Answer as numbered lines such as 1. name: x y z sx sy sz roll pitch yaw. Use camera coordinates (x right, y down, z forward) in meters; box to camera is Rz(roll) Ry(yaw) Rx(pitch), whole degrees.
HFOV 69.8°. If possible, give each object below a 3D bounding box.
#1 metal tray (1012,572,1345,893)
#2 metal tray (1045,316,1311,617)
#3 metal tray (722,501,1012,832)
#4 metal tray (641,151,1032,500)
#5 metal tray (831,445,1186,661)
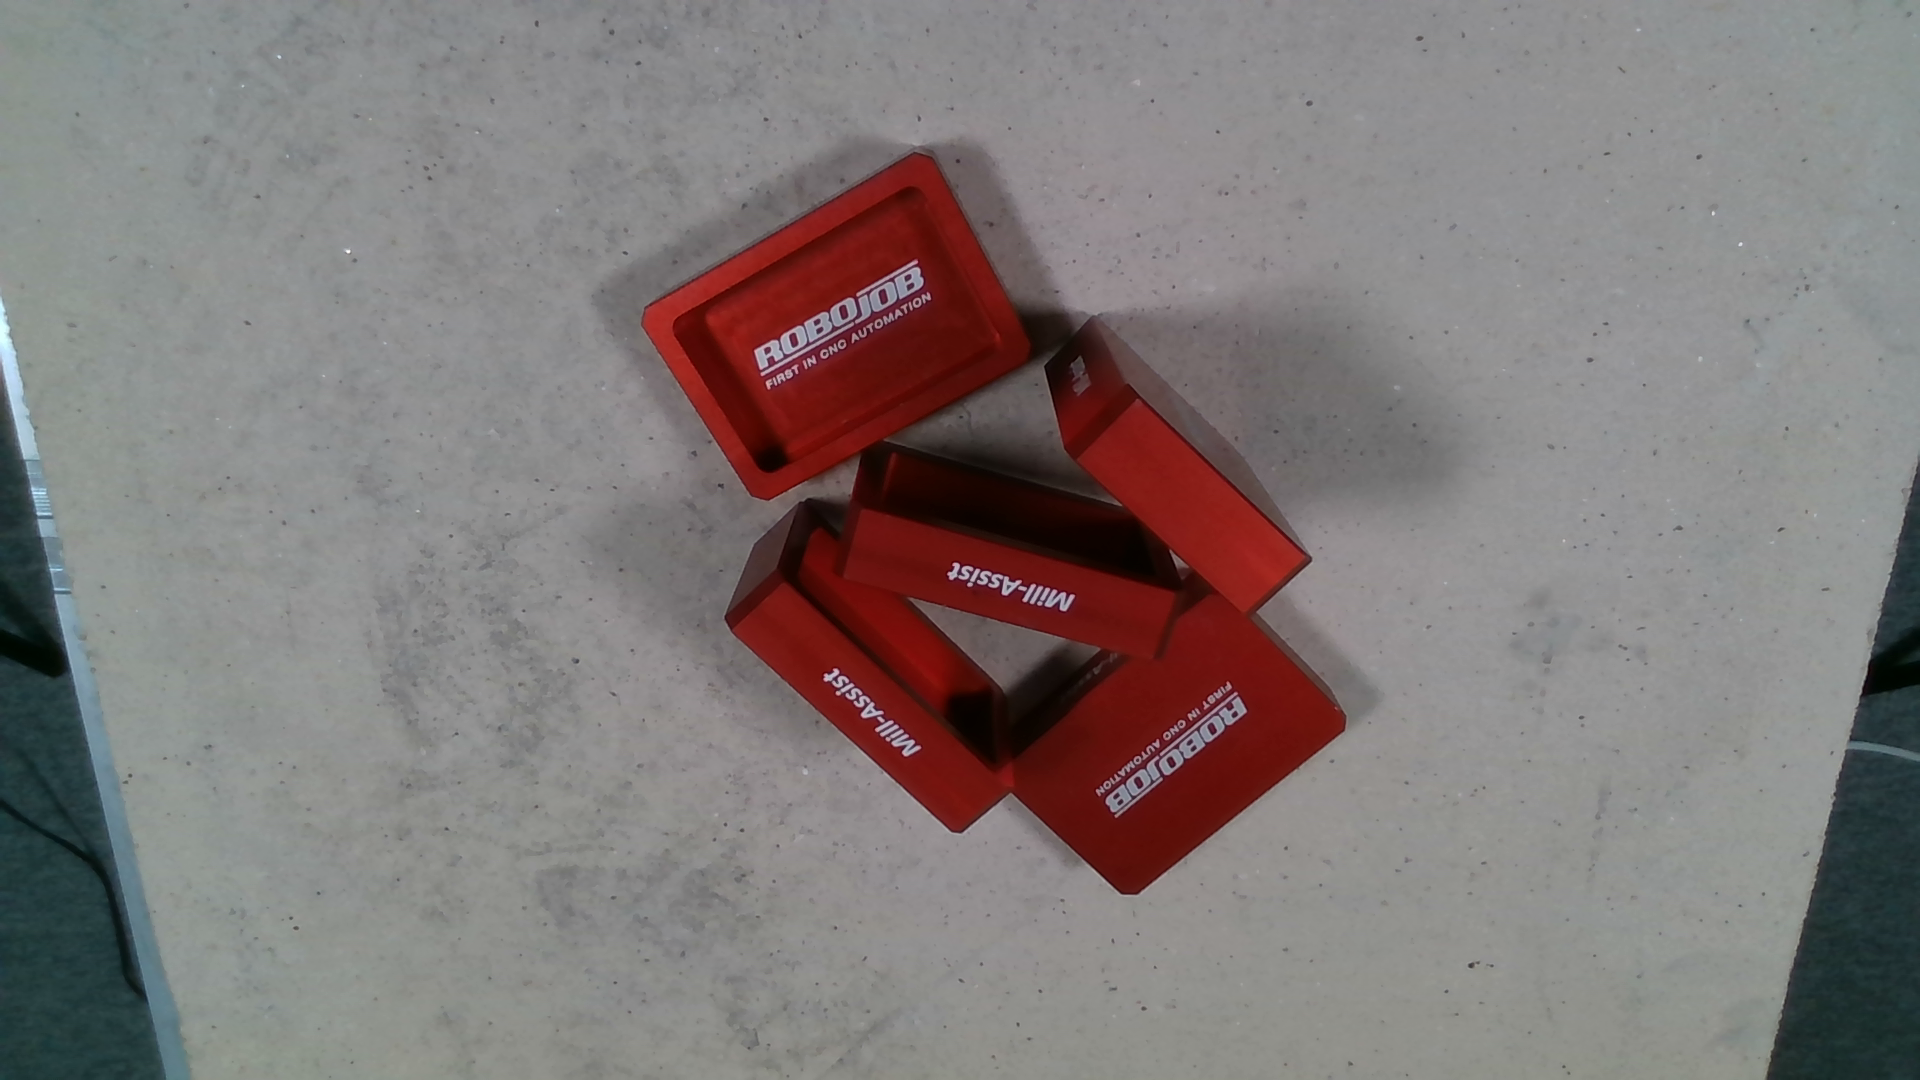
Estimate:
1. metal tray: 0.092 0.086 0.614 0.130 0.030 0.090 -43 105 14
2. metal tray: 0.077 -0.033 0.517 0.090 0.130 0.030 41 105 -14
3. metal tray: -0.034 0.050 0.569 0.030 0.090 0.130 -42 105 14
4. metal tray: -0.048 -0.085 0.550 0.130 0.030 0.090 -27 108 10
5. metal tray: 0.018 0.001 0.550 0.130 0.090 0.030 15 109 -5
